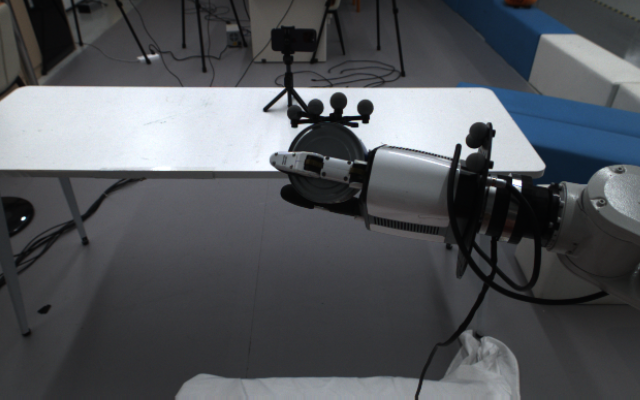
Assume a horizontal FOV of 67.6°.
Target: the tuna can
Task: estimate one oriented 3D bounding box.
[{"bbox_3d":[0.010,-0.040,0.523,0.085,0.085,0.034,15,2,18],"label":"tuna can"}]
